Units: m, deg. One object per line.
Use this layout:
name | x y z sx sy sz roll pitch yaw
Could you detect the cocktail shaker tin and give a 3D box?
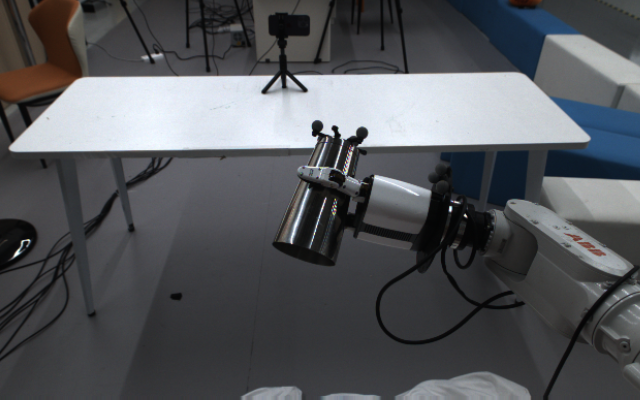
cocktail shaker tin | 0.001 -0.002 0.689 0.093 0.093 0.170 13 70 15
